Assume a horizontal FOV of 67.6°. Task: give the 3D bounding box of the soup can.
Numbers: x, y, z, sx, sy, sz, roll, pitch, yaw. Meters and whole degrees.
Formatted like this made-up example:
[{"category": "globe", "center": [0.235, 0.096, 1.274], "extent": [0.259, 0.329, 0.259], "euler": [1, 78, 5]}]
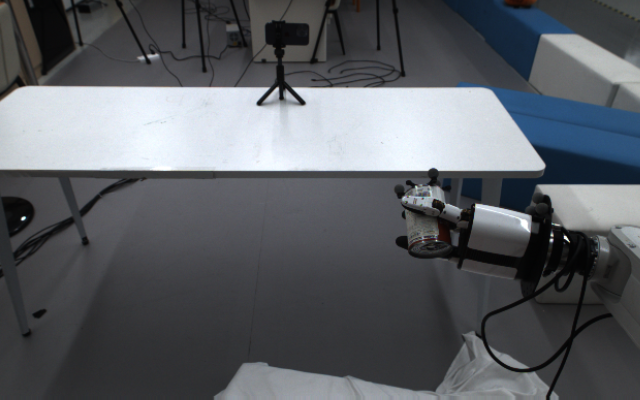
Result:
[{"category": "soup can", "center": [0.172, 0.034, 0.771], "extent": [0.067, 0.067, 0.101], "euler": [1, 62, -2]}]
